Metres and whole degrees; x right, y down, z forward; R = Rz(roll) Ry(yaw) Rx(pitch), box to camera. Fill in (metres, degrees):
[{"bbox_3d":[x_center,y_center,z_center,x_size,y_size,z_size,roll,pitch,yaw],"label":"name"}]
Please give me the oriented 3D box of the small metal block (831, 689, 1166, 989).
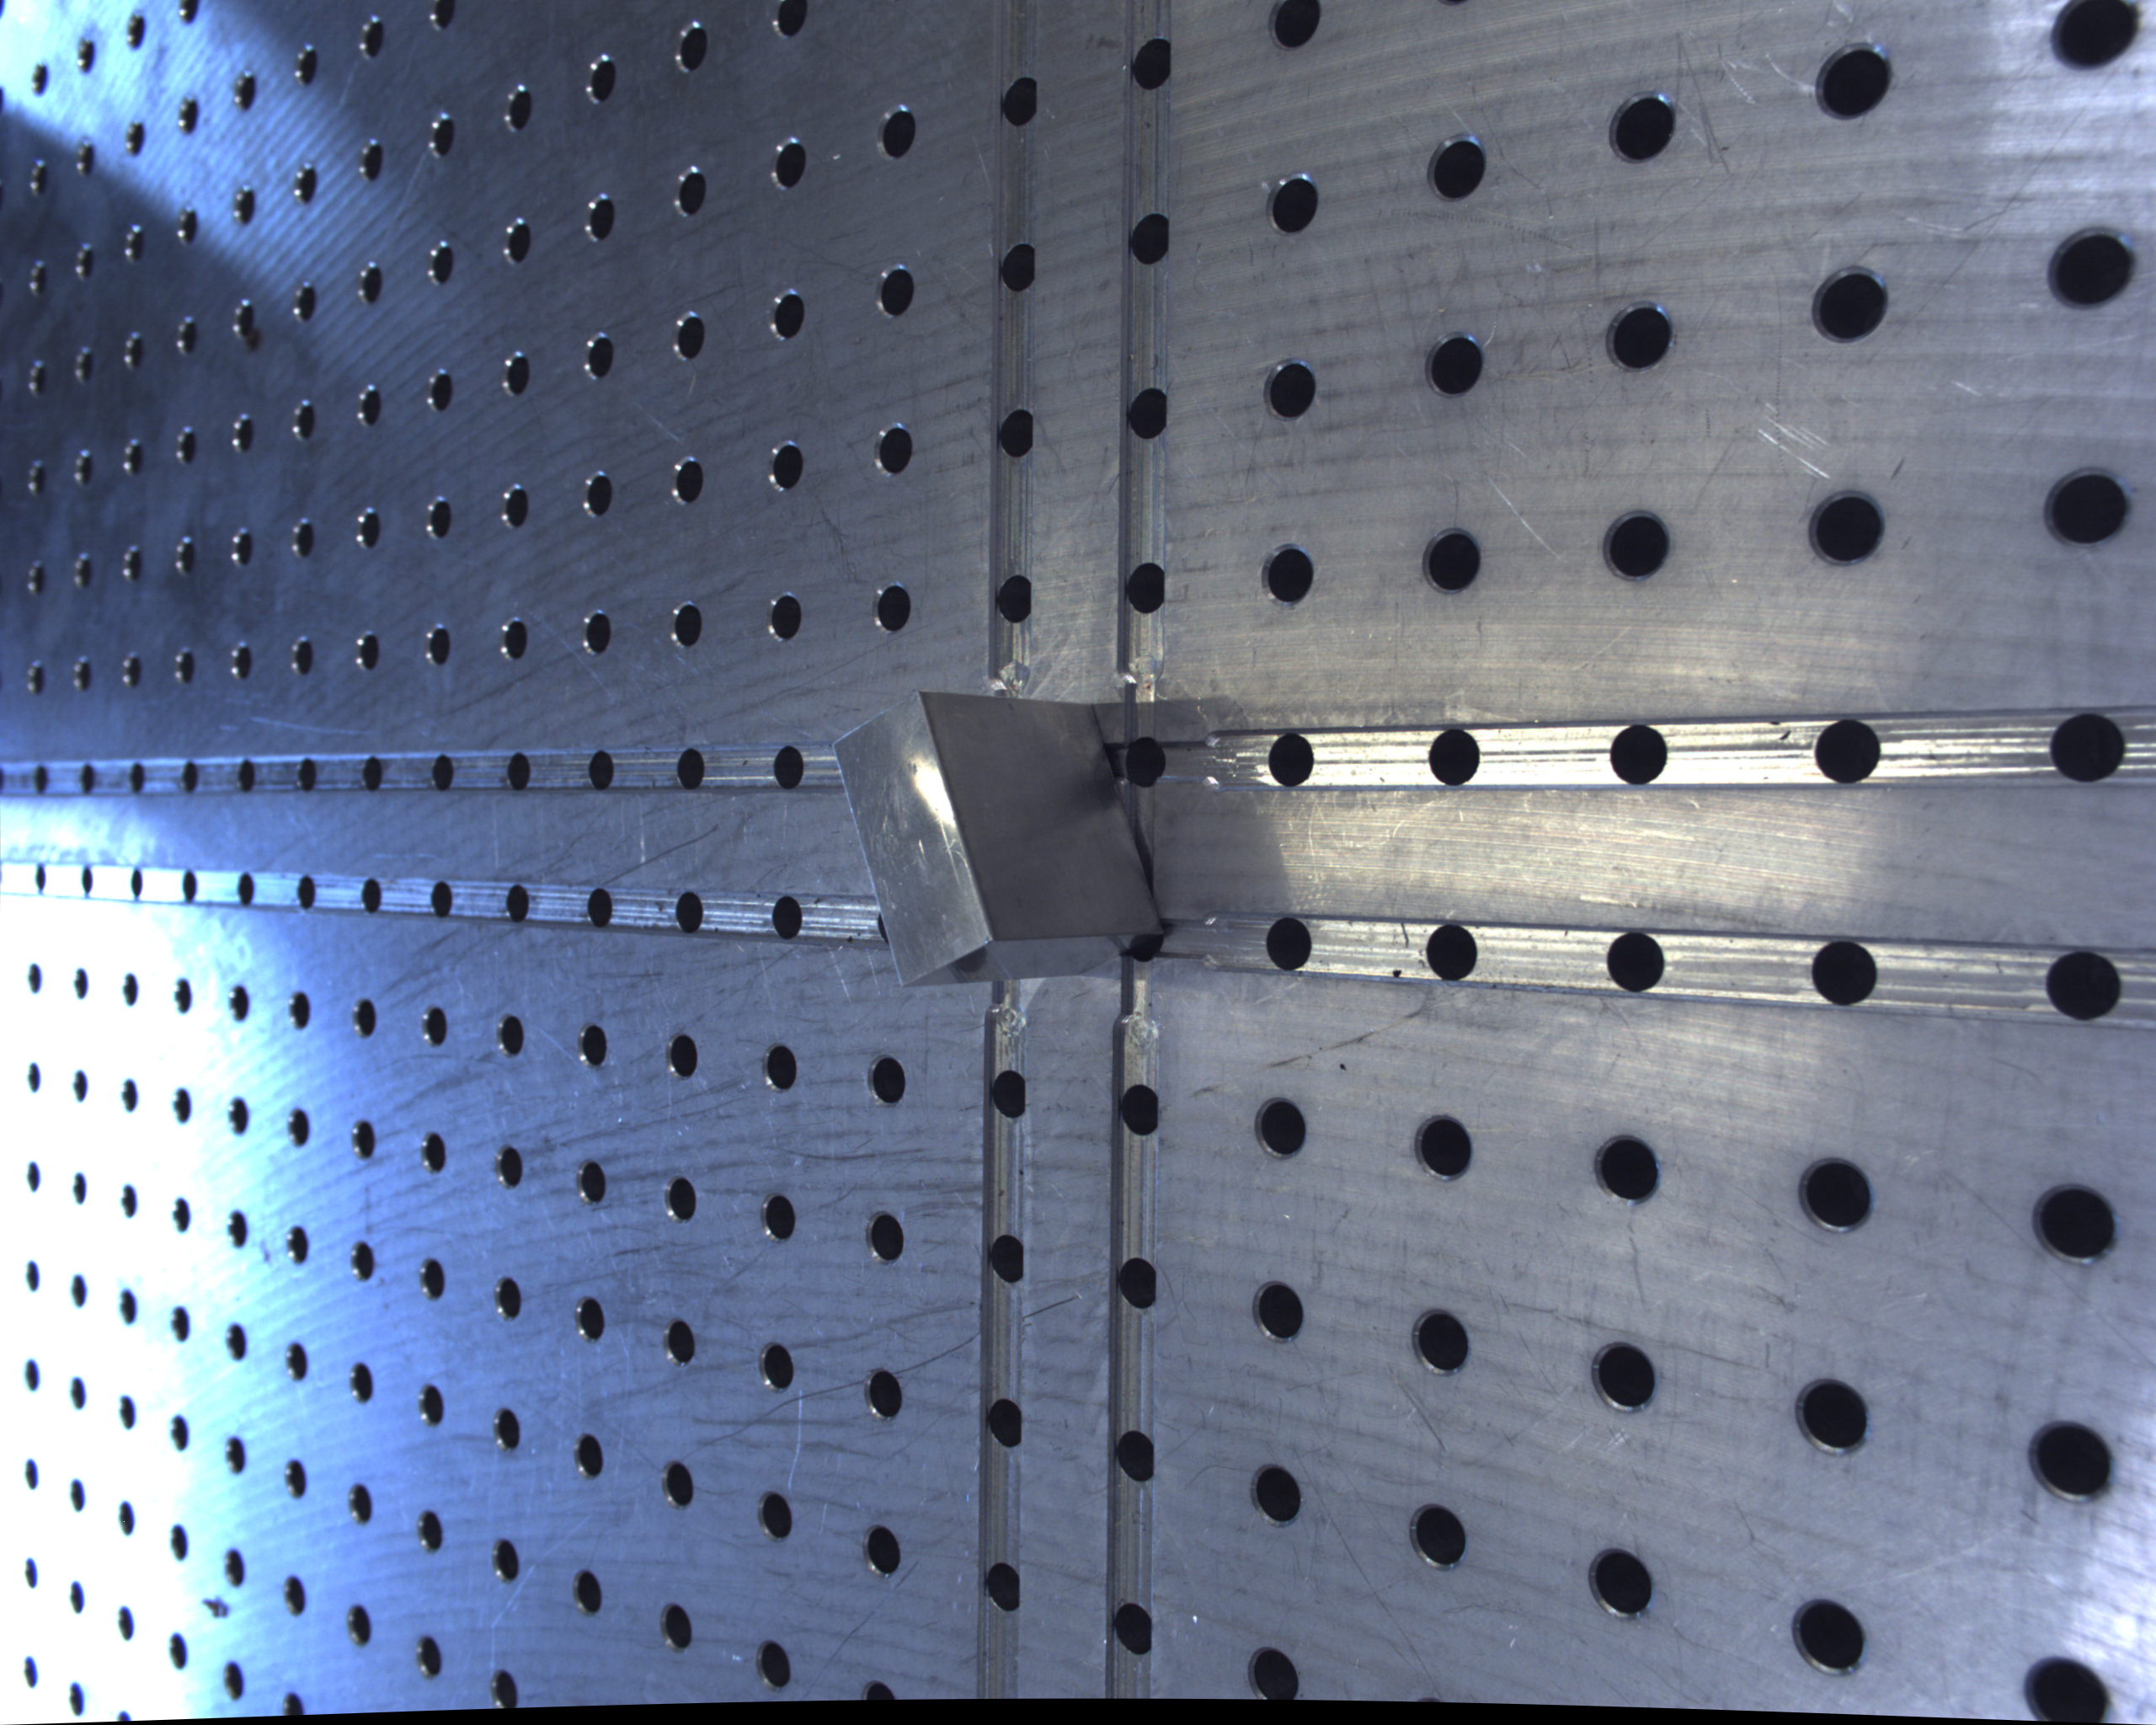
[{"bbox_3d":[-0.015,-0.004,0.406,0.025,0.050,0.050,-28,73,36],"label":"small metal block"}]
